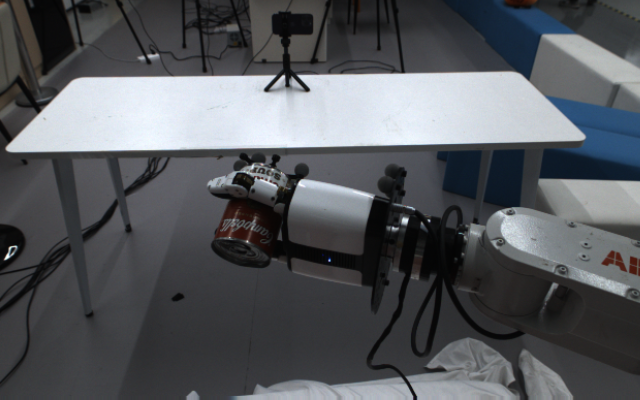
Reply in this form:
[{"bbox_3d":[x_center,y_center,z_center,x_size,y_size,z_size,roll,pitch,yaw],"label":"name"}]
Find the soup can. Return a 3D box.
[{"bbox_3d":[-0.073,0.017,0.546,0.067,0.067,0.101,9,58,10],"label":"soup can"}]
